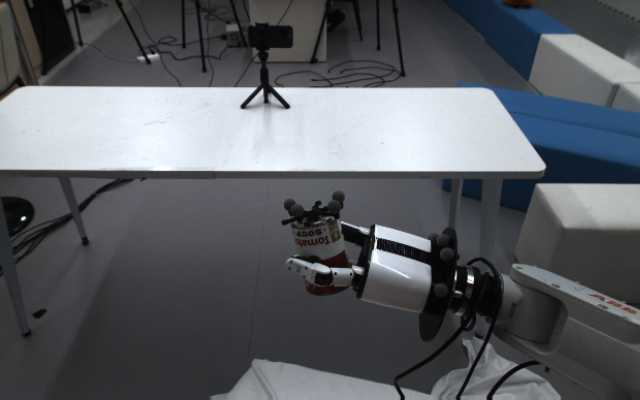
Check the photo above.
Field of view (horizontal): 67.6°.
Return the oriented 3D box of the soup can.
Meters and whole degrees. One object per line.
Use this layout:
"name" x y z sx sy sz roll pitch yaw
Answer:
"soup can" 0.005 0.069 0.659 0.067 0.101 0.067 -12 17 4
